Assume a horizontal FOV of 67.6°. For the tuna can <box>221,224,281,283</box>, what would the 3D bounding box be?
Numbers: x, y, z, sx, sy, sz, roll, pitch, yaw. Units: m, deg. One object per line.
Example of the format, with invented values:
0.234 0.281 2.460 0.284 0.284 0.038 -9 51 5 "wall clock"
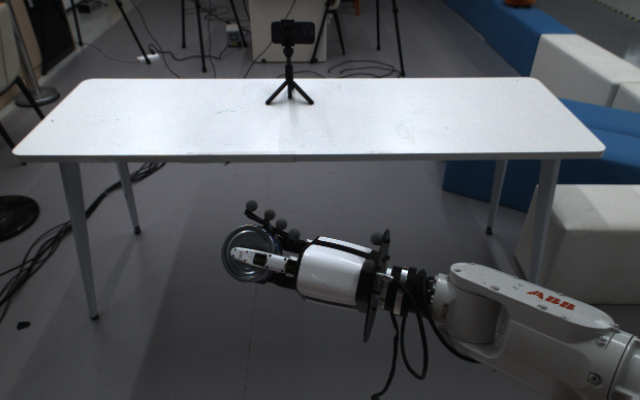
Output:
-0.098 0.085 0.709 0.085 0.085 0.034 13 -4 15 "tuna can"
